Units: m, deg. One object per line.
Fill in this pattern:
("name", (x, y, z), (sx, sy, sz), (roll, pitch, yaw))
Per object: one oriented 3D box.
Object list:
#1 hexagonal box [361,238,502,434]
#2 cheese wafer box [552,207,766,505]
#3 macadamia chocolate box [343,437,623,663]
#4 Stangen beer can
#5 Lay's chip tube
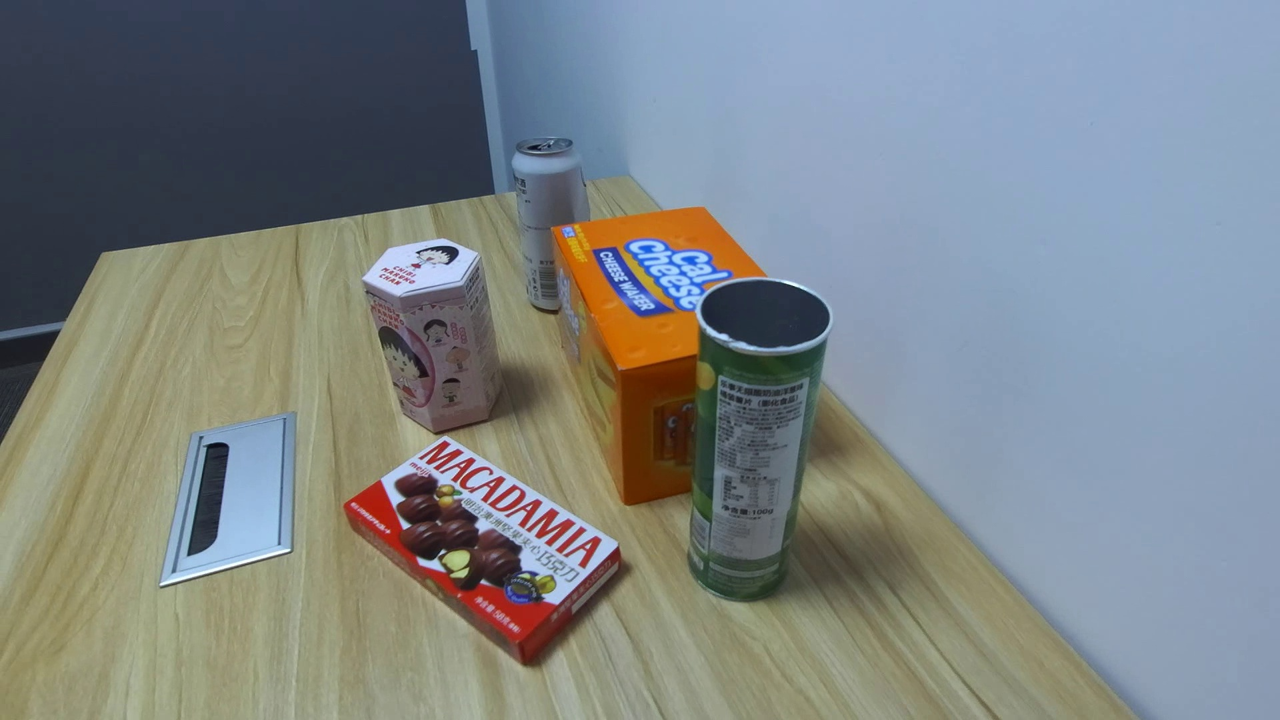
("hexagonal box", (-0.166, -0.018, 0.580), (0.091, 0.136, 0.084), (24, 43, 30))
("cheese wafer box", (0.025, -0.016, 0.582), (0.148, 0.129, 0.221), (-12, 38, -13))
("macadamia chocolate box", (-0.110, 0.121, 0.487), (0.177, 0.027, 0.096), (25, 42, 29))
("Stangen beer can", (-0.086, -0.136, 0.707), (0.070, 0.173, 0.070), (-22, 41, -29))
("Lay's chip tube", (0.064, 0.054, 0.411), (0.071, 0.203, 0.071), (-1, 37, 1))
